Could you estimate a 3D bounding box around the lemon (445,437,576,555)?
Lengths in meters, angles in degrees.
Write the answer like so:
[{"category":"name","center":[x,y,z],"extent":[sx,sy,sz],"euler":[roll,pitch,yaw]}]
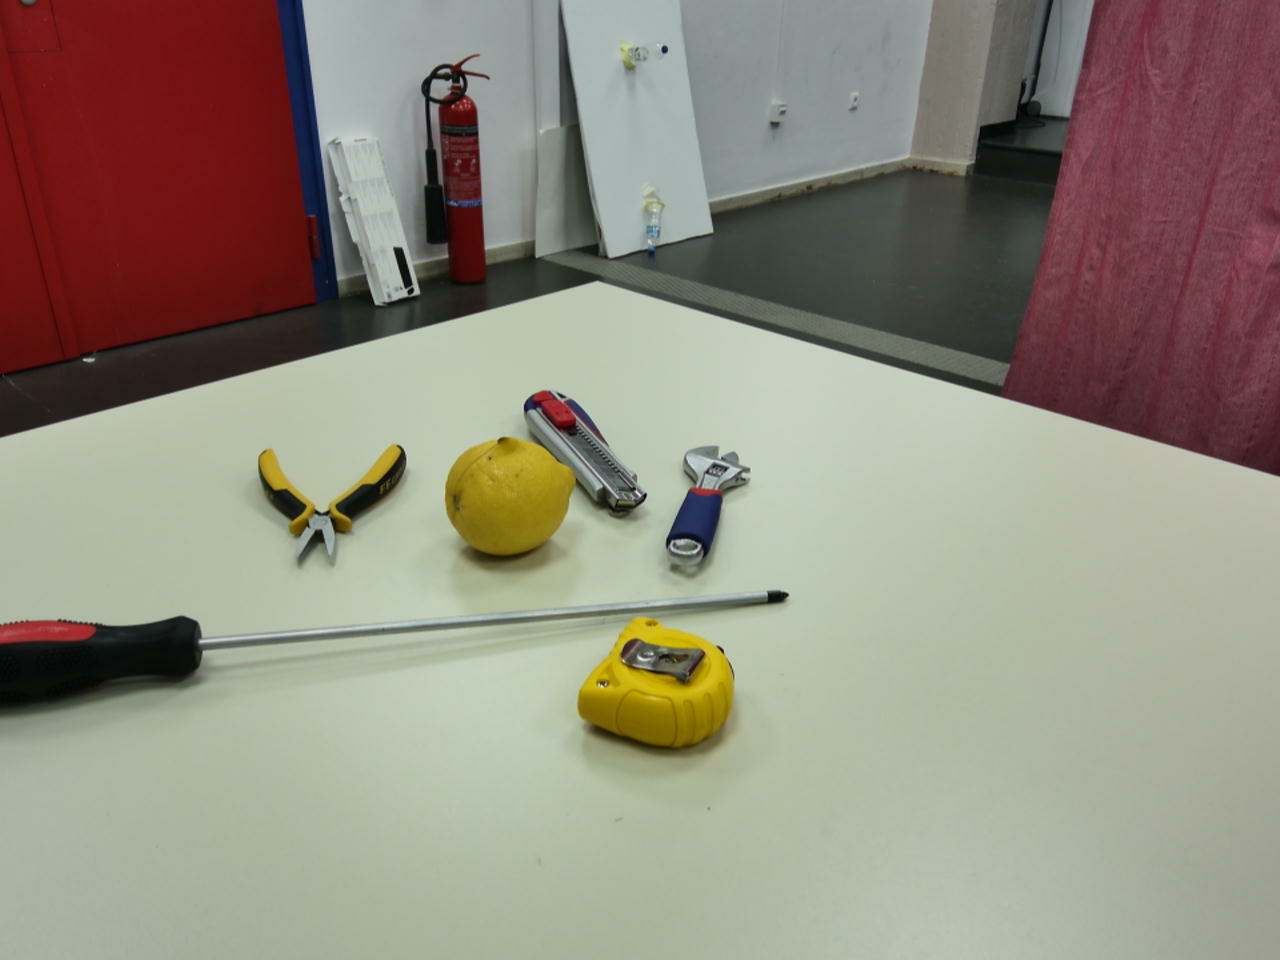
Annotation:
[{"category":"lemon","center":[-0.077,0.007,0.578],"extent":[0.071,0.071,0.070],"euler":[4,26,7]}]
